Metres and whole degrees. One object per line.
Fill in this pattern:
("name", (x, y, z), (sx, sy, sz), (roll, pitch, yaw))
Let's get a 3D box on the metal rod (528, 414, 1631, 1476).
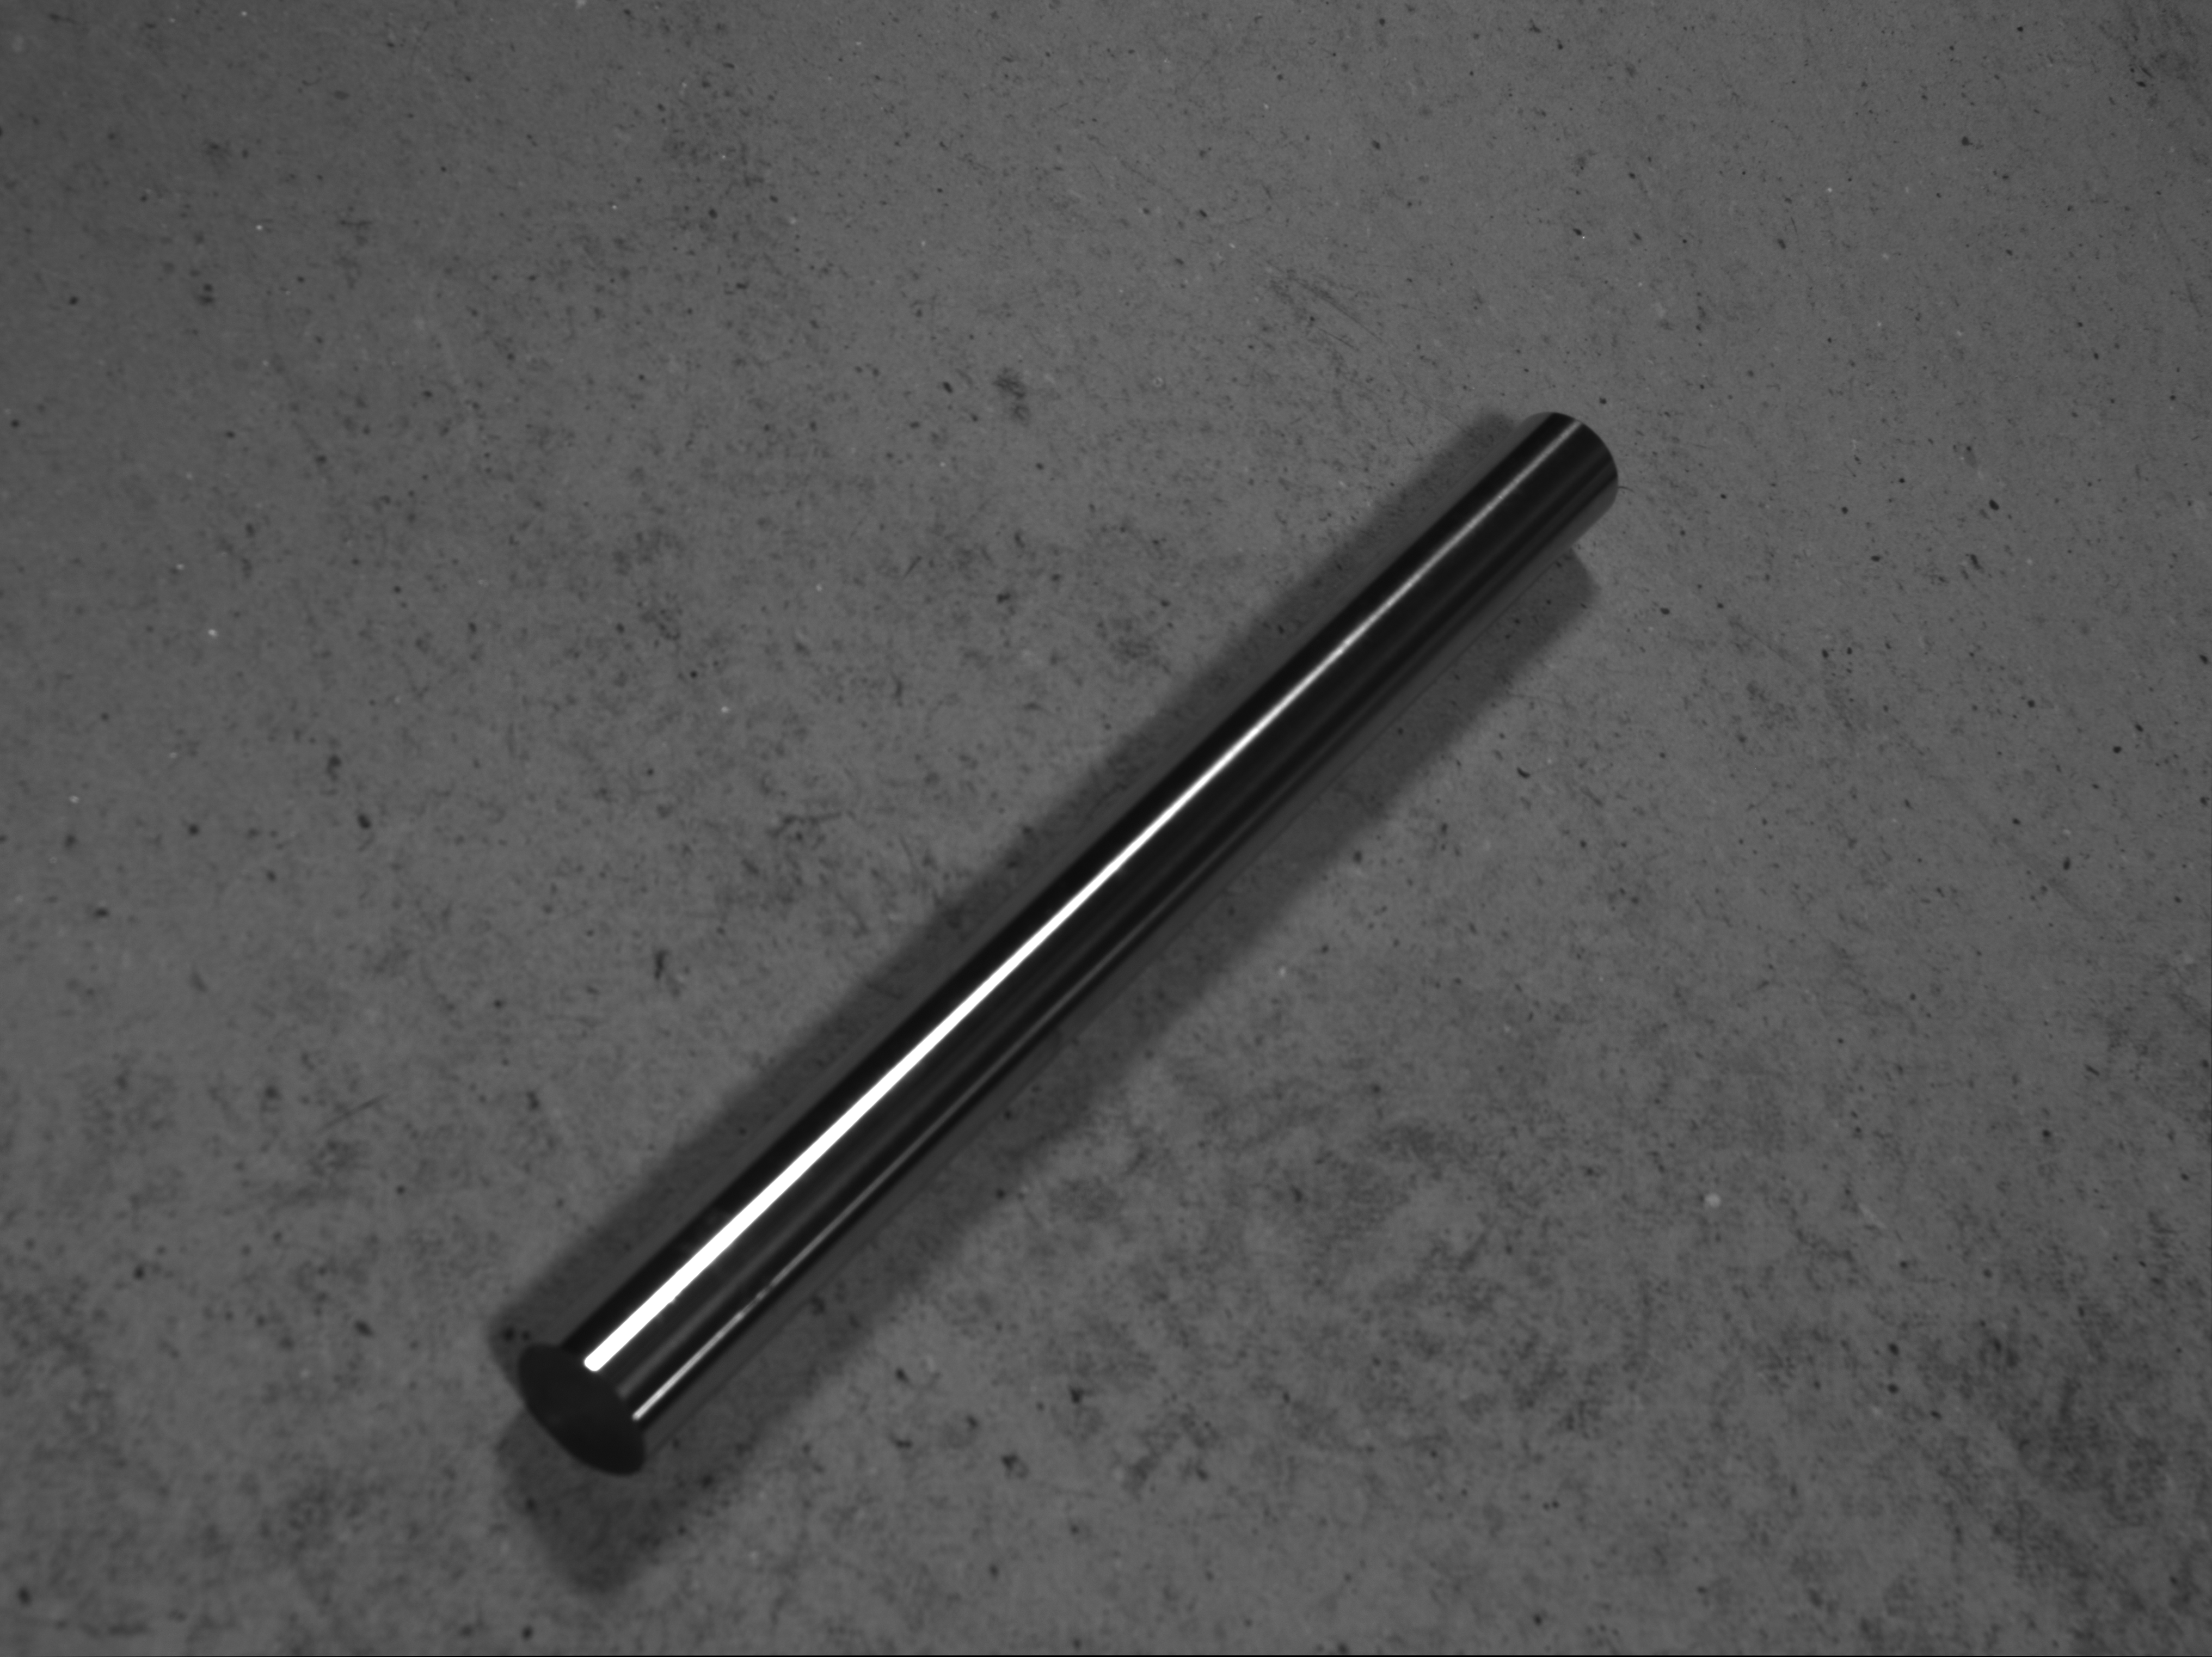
("metal rod", (0.009, 0.007, 0.641), (0.025, 0.025, 0.300), (45, 51, 3))
